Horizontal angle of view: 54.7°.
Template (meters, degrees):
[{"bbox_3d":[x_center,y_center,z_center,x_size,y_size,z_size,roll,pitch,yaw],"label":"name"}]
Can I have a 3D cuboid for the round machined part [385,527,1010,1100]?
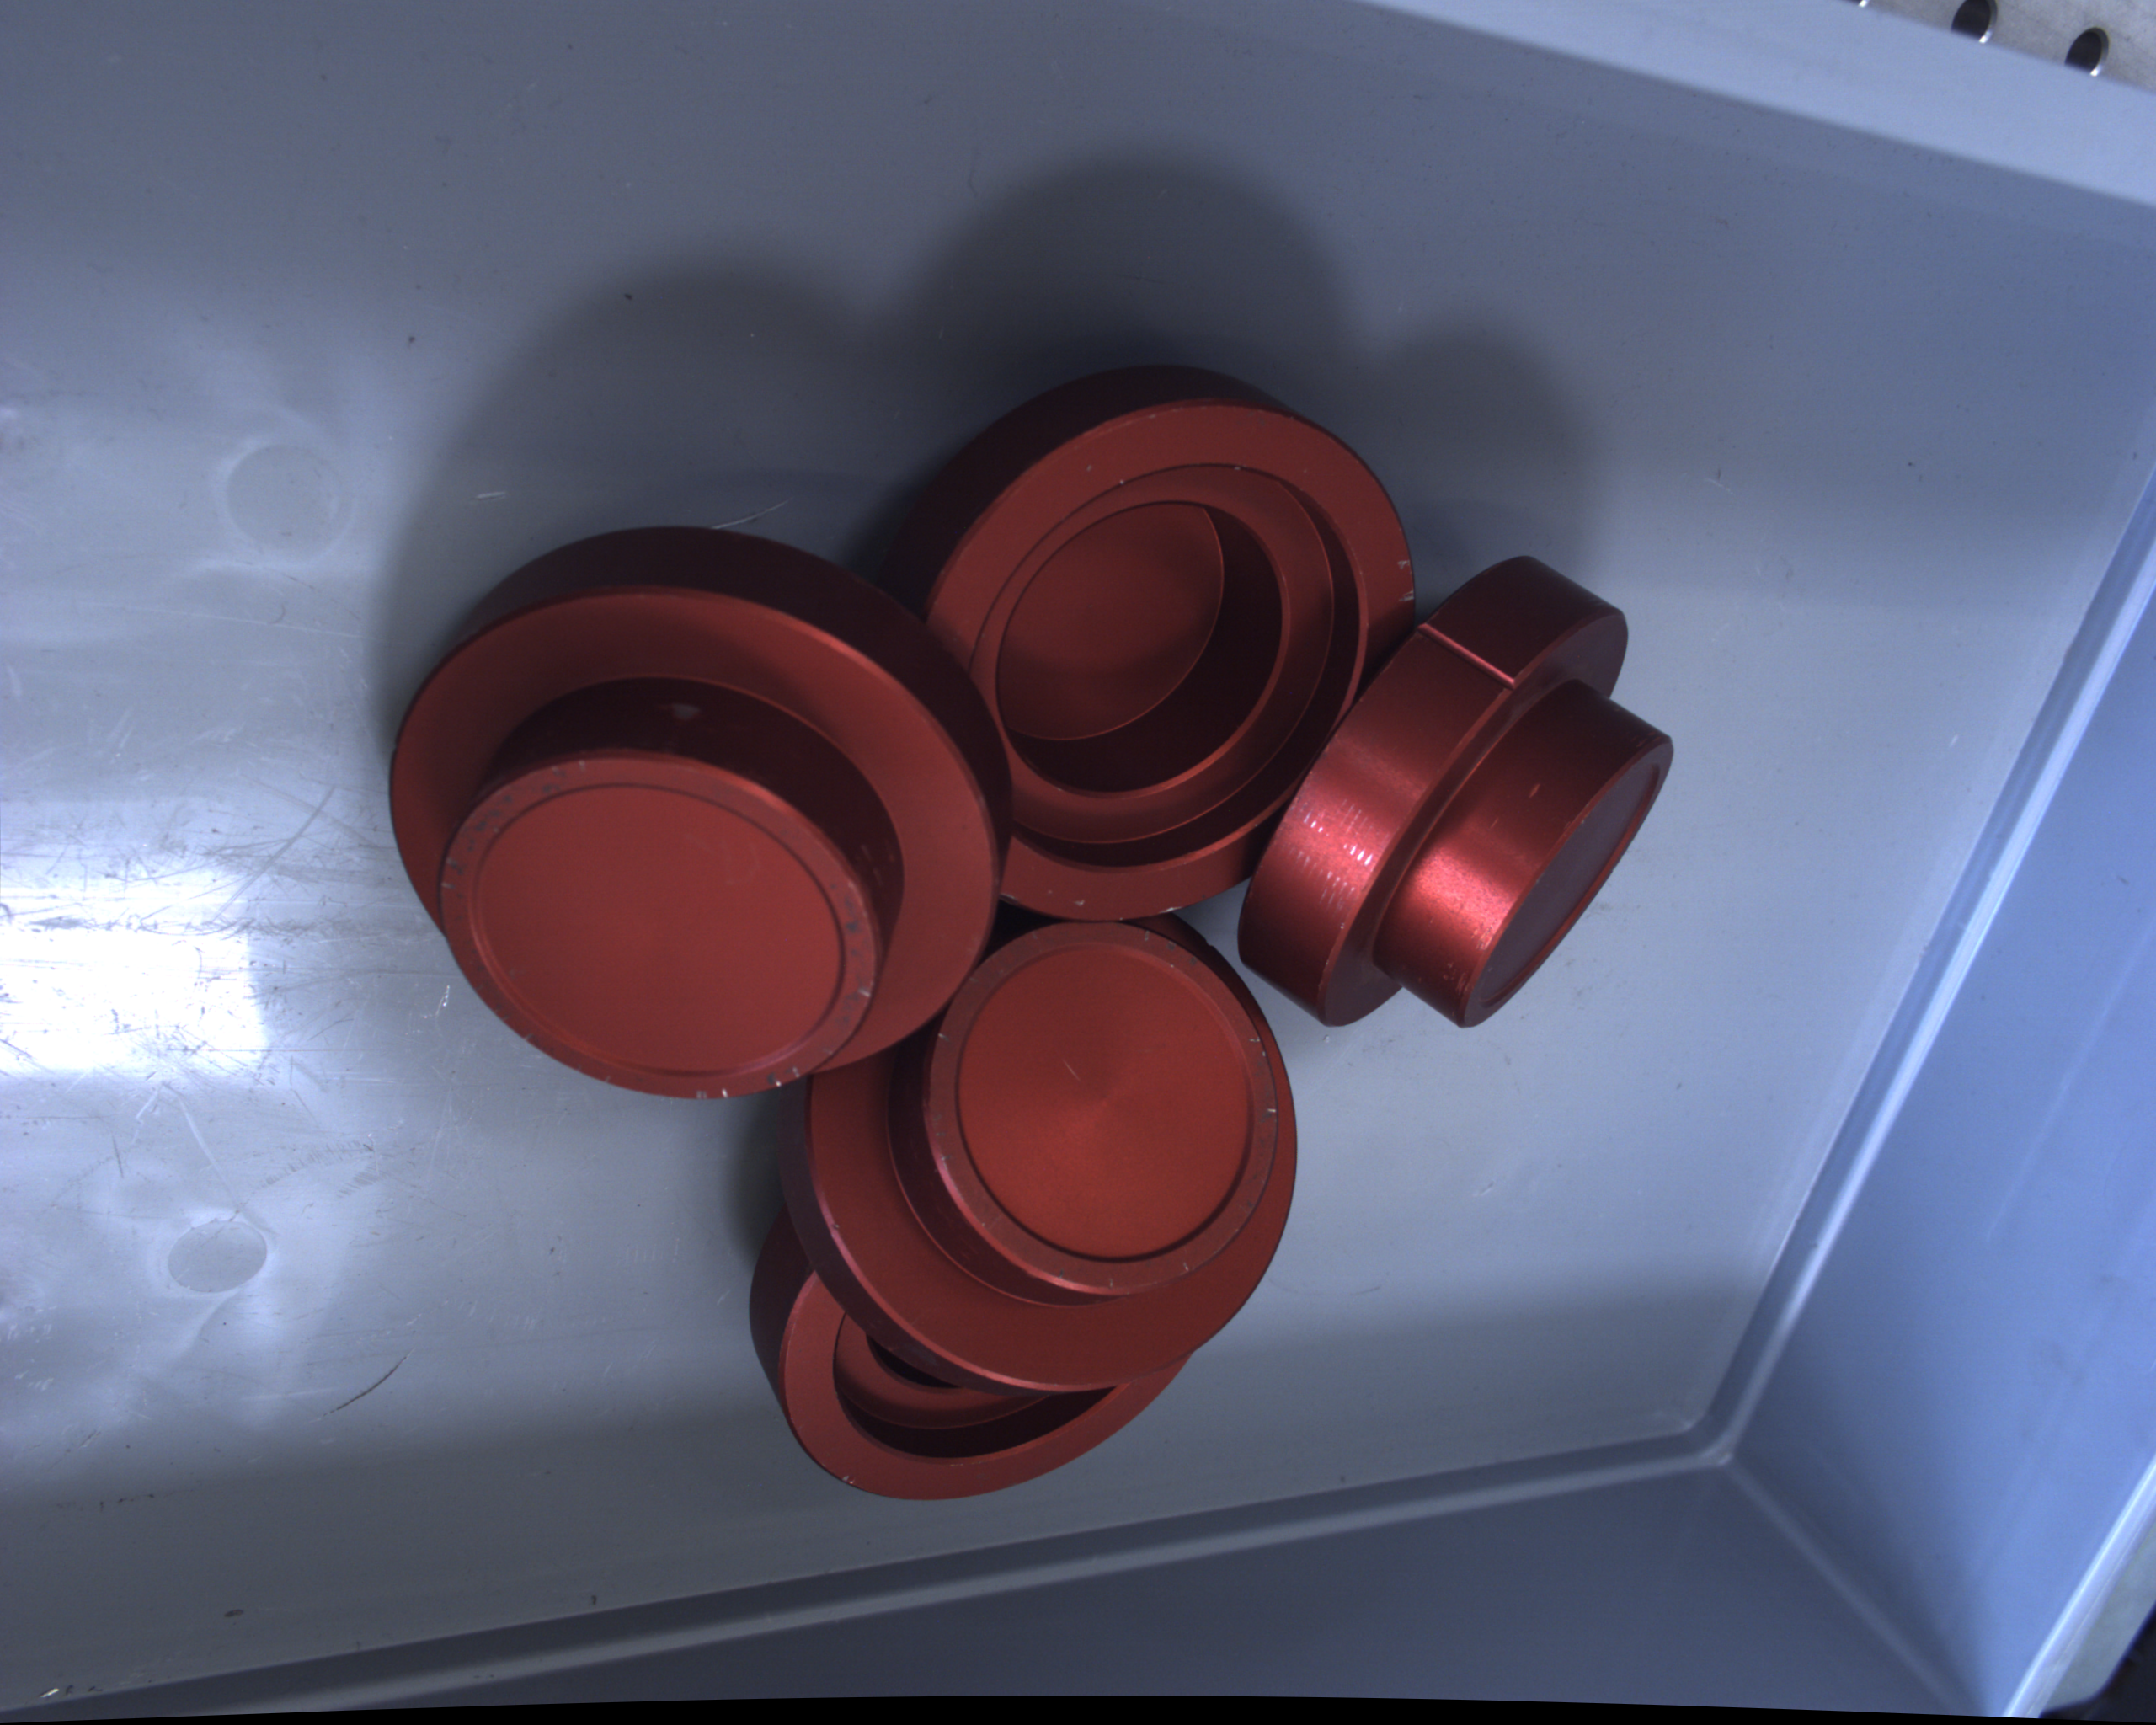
[{"bbox_3d":[-0.062,-0.001,0.333,0.099,0.042,0.097,3,126,4],"label":"round machined part"}]

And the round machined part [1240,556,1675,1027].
[{"bbox_3d":[0.078,-0.007,0.405,0.098,0.042,0.098,-44,158,-23],"label":"round machined part"}]

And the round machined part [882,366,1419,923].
[{"bbox_3d":[0.008,-0.041,0.373,0.099,0.042,0.097,-14,124,-21],"label":"round machined part"}]

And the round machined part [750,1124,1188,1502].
[{"bbox_3d":[-0.021,0.082,0.434,0.099,0.042,0.097,-14,124,-21],"label":"round machined part"}]

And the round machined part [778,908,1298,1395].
[{"bbox_3d":[-0.002,0.048,0.387,0.099,0.098,0.042,-6,166,-25],"label":"round machined part"}]
